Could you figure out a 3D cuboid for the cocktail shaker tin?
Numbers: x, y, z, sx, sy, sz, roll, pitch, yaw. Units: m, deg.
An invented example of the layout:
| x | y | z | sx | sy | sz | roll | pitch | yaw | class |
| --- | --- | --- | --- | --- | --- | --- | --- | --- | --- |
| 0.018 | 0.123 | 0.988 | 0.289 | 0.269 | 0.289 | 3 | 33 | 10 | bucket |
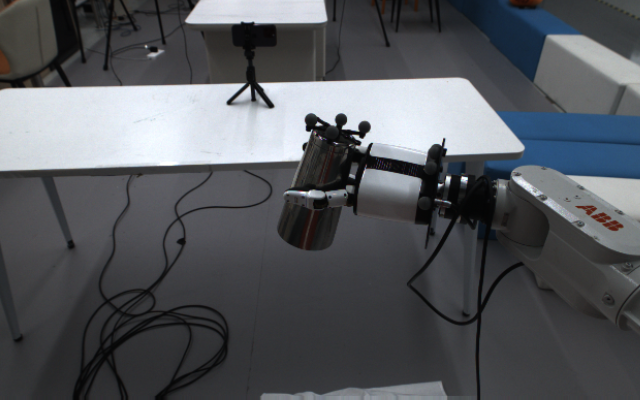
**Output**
| x | y | z | sx | sy | sz | roll | pitch | yaw | class |
| --- | --- | --- | --- | --- | --- | --- | --- | --- | --- |
| 0.001 | -0.022 | 0.720 | 0.093 | 0.170 | 0.093 | 12 | 29 | -7 | cocktail shaker tin |
